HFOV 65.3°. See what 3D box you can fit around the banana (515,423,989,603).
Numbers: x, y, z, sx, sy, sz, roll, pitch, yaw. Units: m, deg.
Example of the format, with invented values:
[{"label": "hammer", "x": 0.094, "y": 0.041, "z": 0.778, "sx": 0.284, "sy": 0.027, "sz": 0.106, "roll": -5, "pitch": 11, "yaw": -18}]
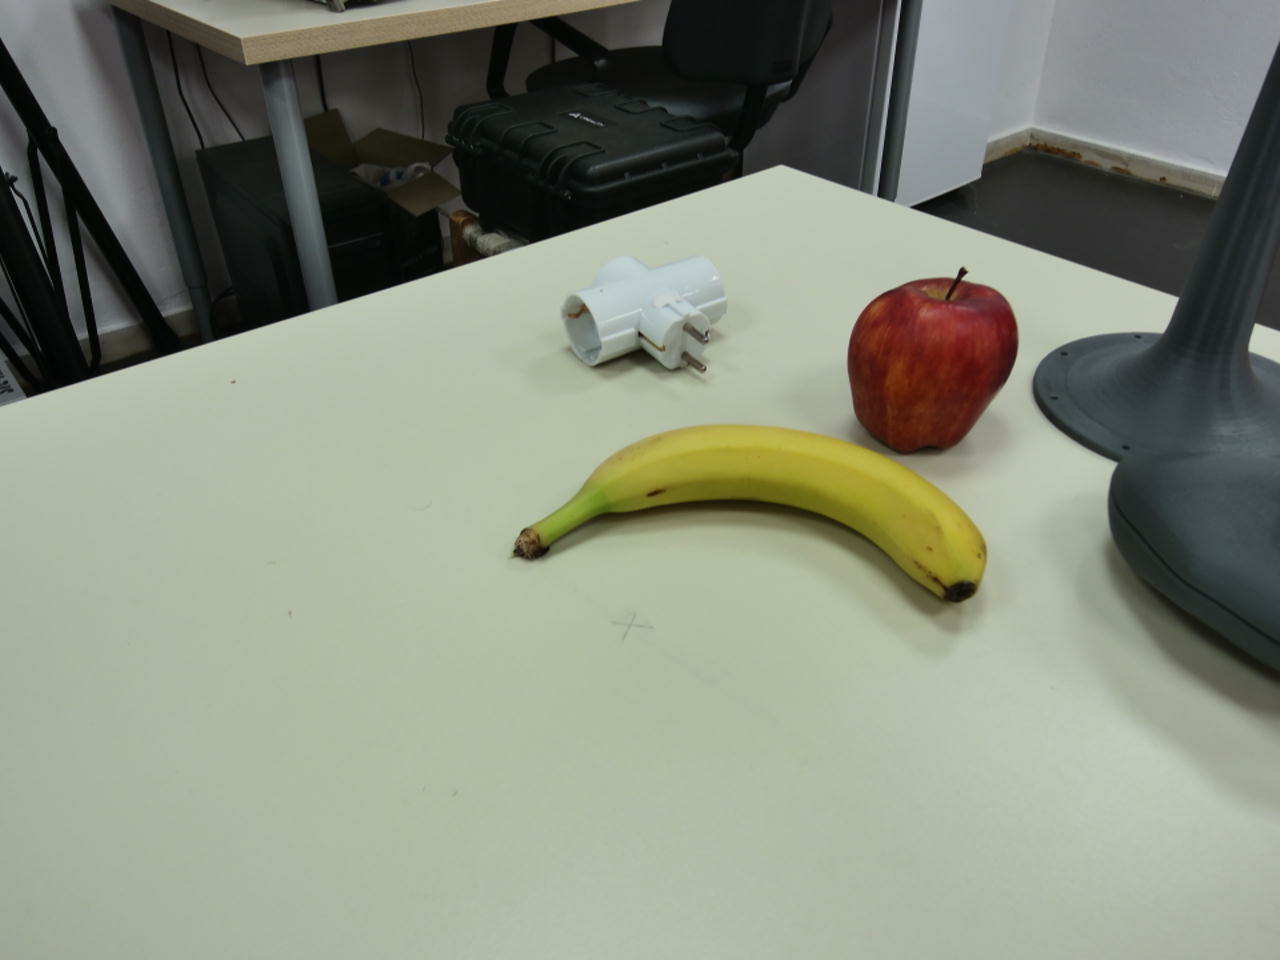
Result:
[{"label": "banana", "x": 0.050, "y": 0.008, "z": 0.447, "sx": 0.196, "sy": 0.041, "sz": 0.094, "roll": 9, "pitch": 36, "yaw": 14}]
